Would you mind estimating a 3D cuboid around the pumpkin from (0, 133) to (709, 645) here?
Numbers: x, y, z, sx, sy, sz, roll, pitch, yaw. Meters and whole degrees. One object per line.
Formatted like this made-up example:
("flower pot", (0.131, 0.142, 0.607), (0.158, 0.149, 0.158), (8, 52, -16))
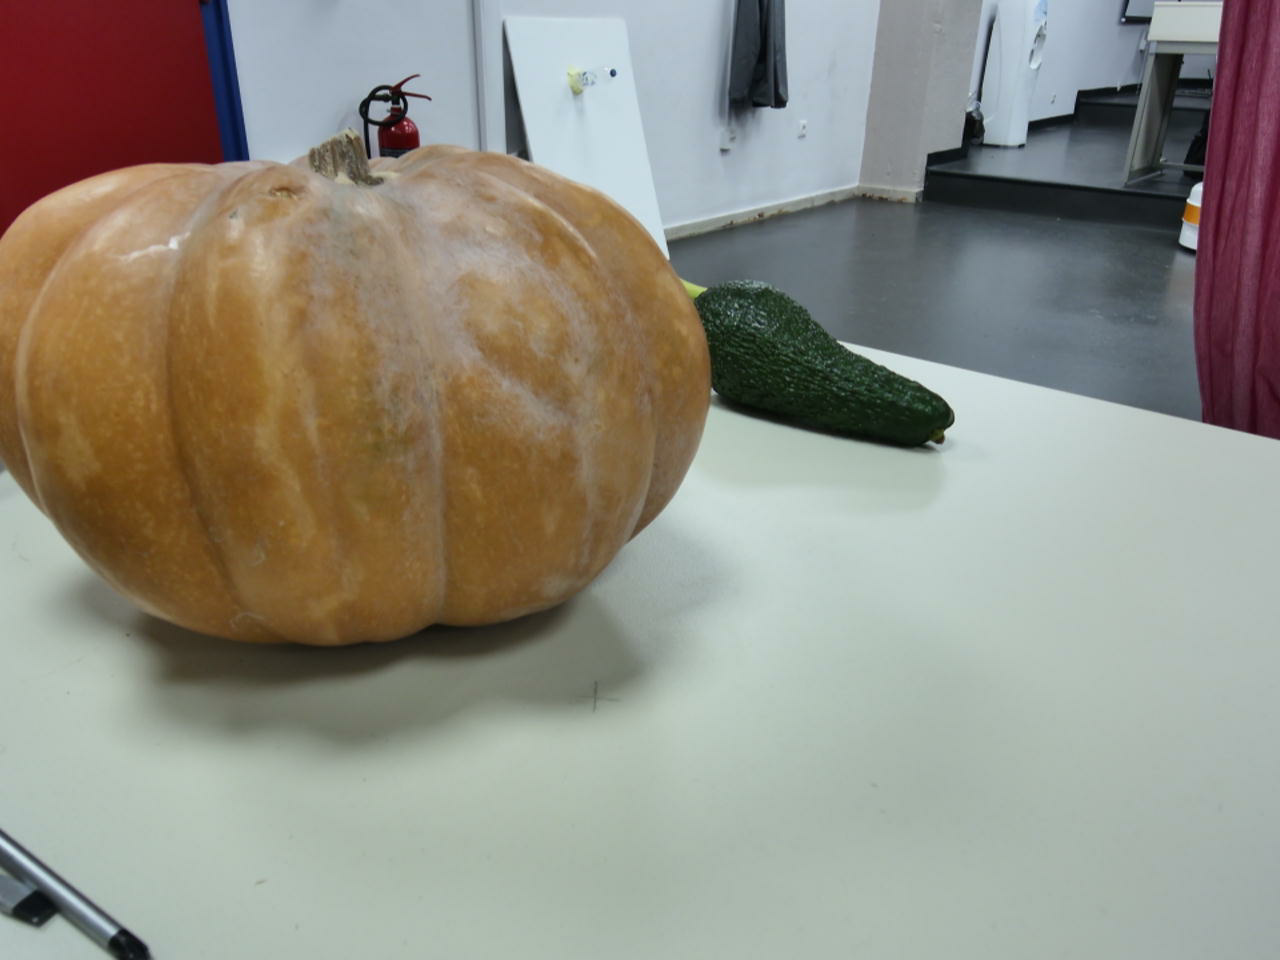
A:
("pumpkin", (-0.110, -0.043, 0.400), (0.277, 0.181, 0.277), (0, 23, 0))
